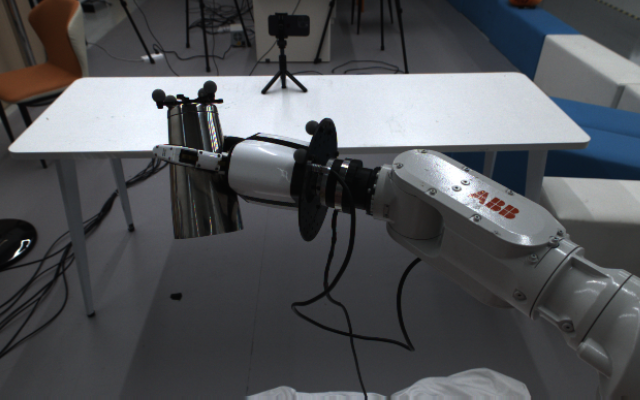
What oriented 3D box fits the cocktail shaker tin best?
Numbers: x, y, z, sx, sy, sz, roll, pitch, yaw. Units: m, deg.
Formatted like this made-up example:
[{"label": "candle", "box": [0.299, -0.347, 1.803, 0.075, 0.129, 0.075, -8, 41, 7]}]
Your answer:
[{"label": "cocktail shaker tin", "box": [-0.161, -0.038, 0.649, 0.093, 0.170, 0.093, -8, 1, 0]}]
